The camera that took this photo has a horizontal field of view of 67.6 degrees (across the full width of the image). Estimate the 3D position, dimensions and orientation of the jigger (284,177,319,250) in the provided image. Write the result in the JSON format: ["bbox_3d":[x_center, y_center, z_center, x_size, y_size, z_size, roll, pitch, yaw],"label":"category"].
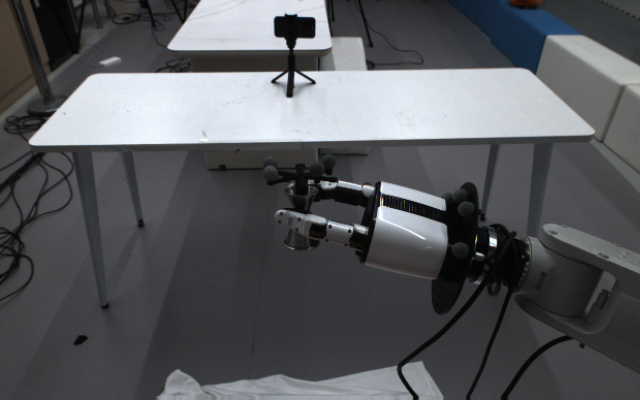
[{"bbox_3d":[-0.022,0.020,0.577,0.043,0.071,0.043,0,21,0],"label":"jigger"}]
